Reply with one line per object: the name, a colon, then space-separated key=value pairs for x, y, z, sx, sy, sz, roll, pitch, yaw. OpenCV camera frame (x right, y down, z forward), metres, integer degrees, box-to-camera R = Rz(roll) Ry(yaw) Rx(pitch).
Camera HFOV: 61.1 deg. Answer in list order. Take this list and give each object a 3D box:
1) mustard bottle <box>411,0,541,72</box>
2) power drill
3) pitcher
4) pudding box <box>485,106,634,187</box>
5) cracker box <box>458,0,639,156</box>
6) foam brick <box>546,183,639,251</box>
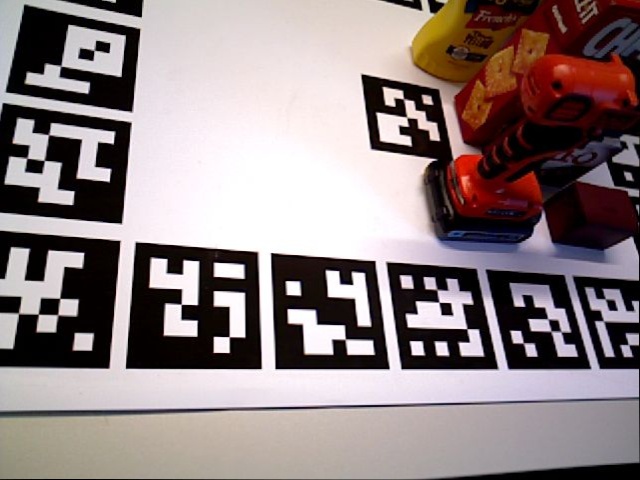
mustard bottle: x=0.180 y=-0.263 z=0.563 sx=0.095 sy=0.196 sz=0.057 roll=17 pitch=62 yaw=-14
power drill: x=0.220 y=-0.077 z=0.470 sx=0.182 sy=0.191 sz=0.057 roll=4 pitch=61 yaw=-21
pitcher: x=0.307 y=-0.258 z=0.598 sx=0.187 sy=0.248 sz=0.132 roll=10 pitch=63 yaw=-16
pudding box: x=0.248 y=-0.100 z=0.573 sx=0.112 sy=0.092 sz=0.038 roll=4 pitch=63 yaw=-17
cracker box: x=0.270 y=-0.166 z=0.548 sx=0.162 sy=0.218 sz=0.071 roll=2 pitch=64 yaw=-19
foam brick: x=0.295 y=-0.023 z=0.596 sx=0.077 sy=0.052 sz=0.052 roll=7 pitch=66 yaw=-19
